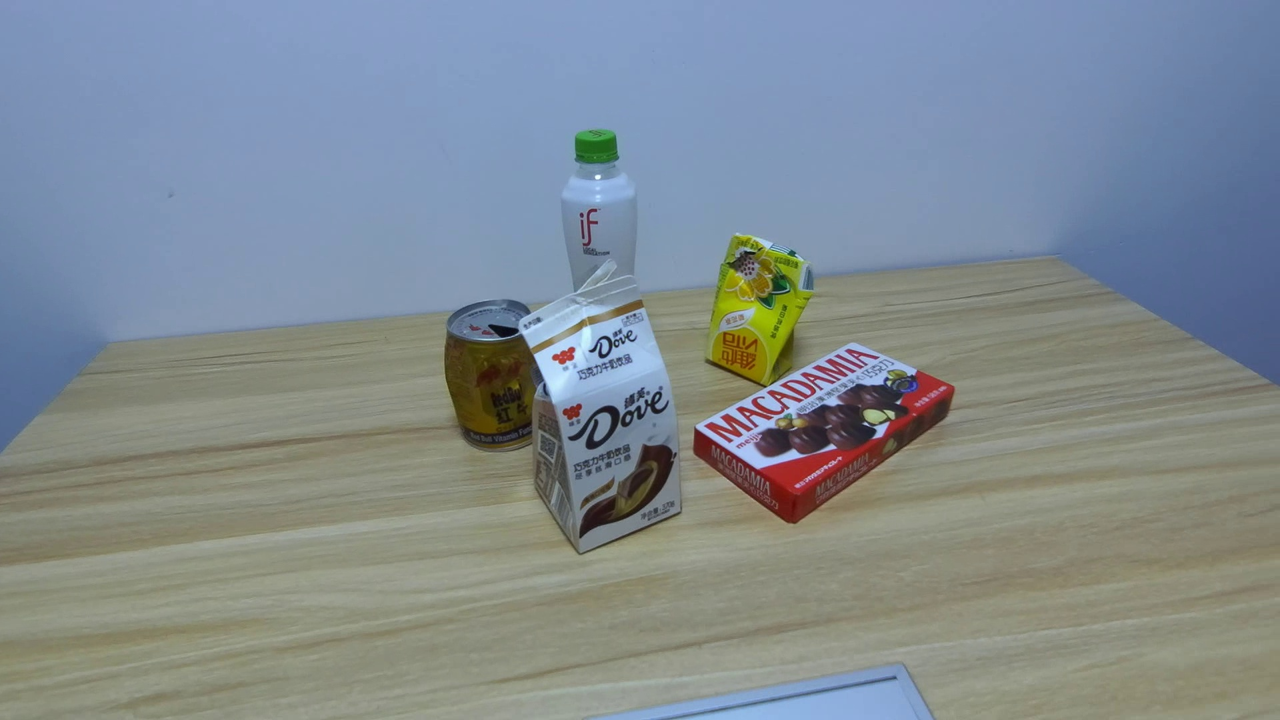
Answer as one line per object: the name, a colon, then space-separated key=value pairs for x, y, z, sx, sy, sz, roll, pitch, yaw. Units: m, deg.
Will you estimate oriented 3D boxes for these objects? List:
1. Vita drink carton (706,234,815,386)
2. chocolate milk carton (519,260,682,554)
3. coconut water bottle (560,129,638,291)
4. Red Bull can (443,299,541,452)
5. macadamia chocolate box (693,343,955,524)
Vita drink carton: x=0.097 y=-0.043 z=0.569 sx=0.086 sy=0.108 sz=0.042 roll=26 pitch=27 yaw=33
chocolate milk carton: x=-0.024 y=0.024 z=0.419 sx=0.076 sy=0.156 sz=0.073 roll=-17 pitch=32 yaw=-23
coconut water bottle: x=-0.030 y=-0.082 z=0.561 sx=0.063 sy=0.189 sz=0.063 roll=-1 pitch=29 yaw=1
Red Bull can: x=-0.101 y=0.011 z=0.504 sx=0.072 sy=0.092 sz=0.072 roll=0 pitch=30 yaw=0
macadamia chocolate box: x=0.134 y=0.043 z=0.505 sx=0.178 sy=0.027 sz=0.095 roll=-23 pitch=37 yaw=-31
